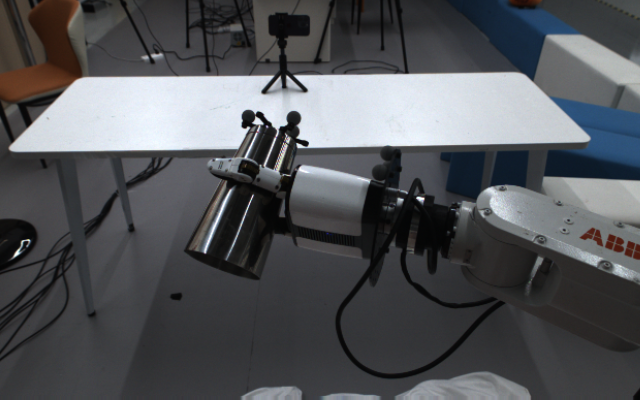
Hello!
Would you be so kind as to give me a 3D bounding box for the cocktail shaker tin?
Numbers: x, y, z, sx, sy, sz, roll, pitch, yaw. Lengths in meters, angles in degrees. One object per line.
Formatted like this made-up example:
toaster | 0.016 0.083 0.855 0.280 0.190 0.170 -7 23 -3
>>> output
cocktail shaker tin | -0.085 -0.001 0.579 0.093 0.093 0.170 13 70 16
